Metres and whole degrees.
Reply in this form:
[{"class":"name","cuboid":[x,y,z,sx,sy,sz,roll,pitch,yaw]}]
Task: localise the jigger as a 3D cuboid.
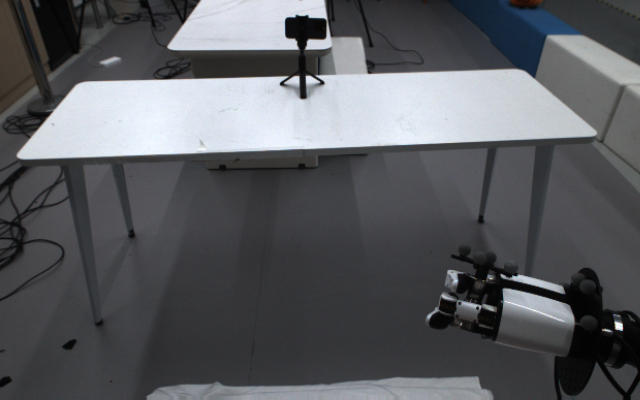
[{"class":"jigger","cuboid":[0.202,0.134,0.636,0.043,0.071,0.043,17,2,-1]}]
